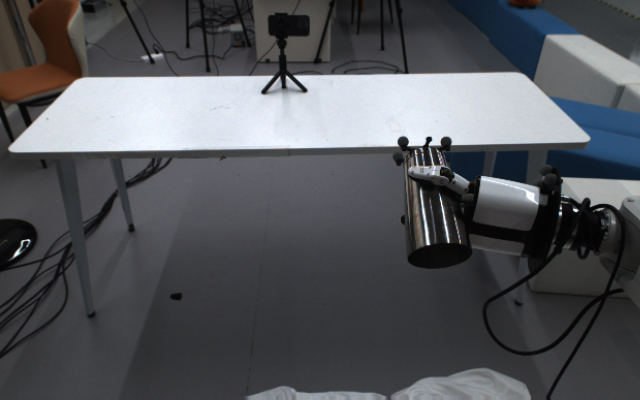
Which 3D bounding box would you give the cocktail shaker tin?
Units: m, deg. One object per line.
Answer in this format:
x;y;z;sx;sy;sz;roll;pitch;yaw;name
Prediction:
0.167;0.006;0.728;0.093;0.093;0.170;0;59;-3;cocktail shaker tin
